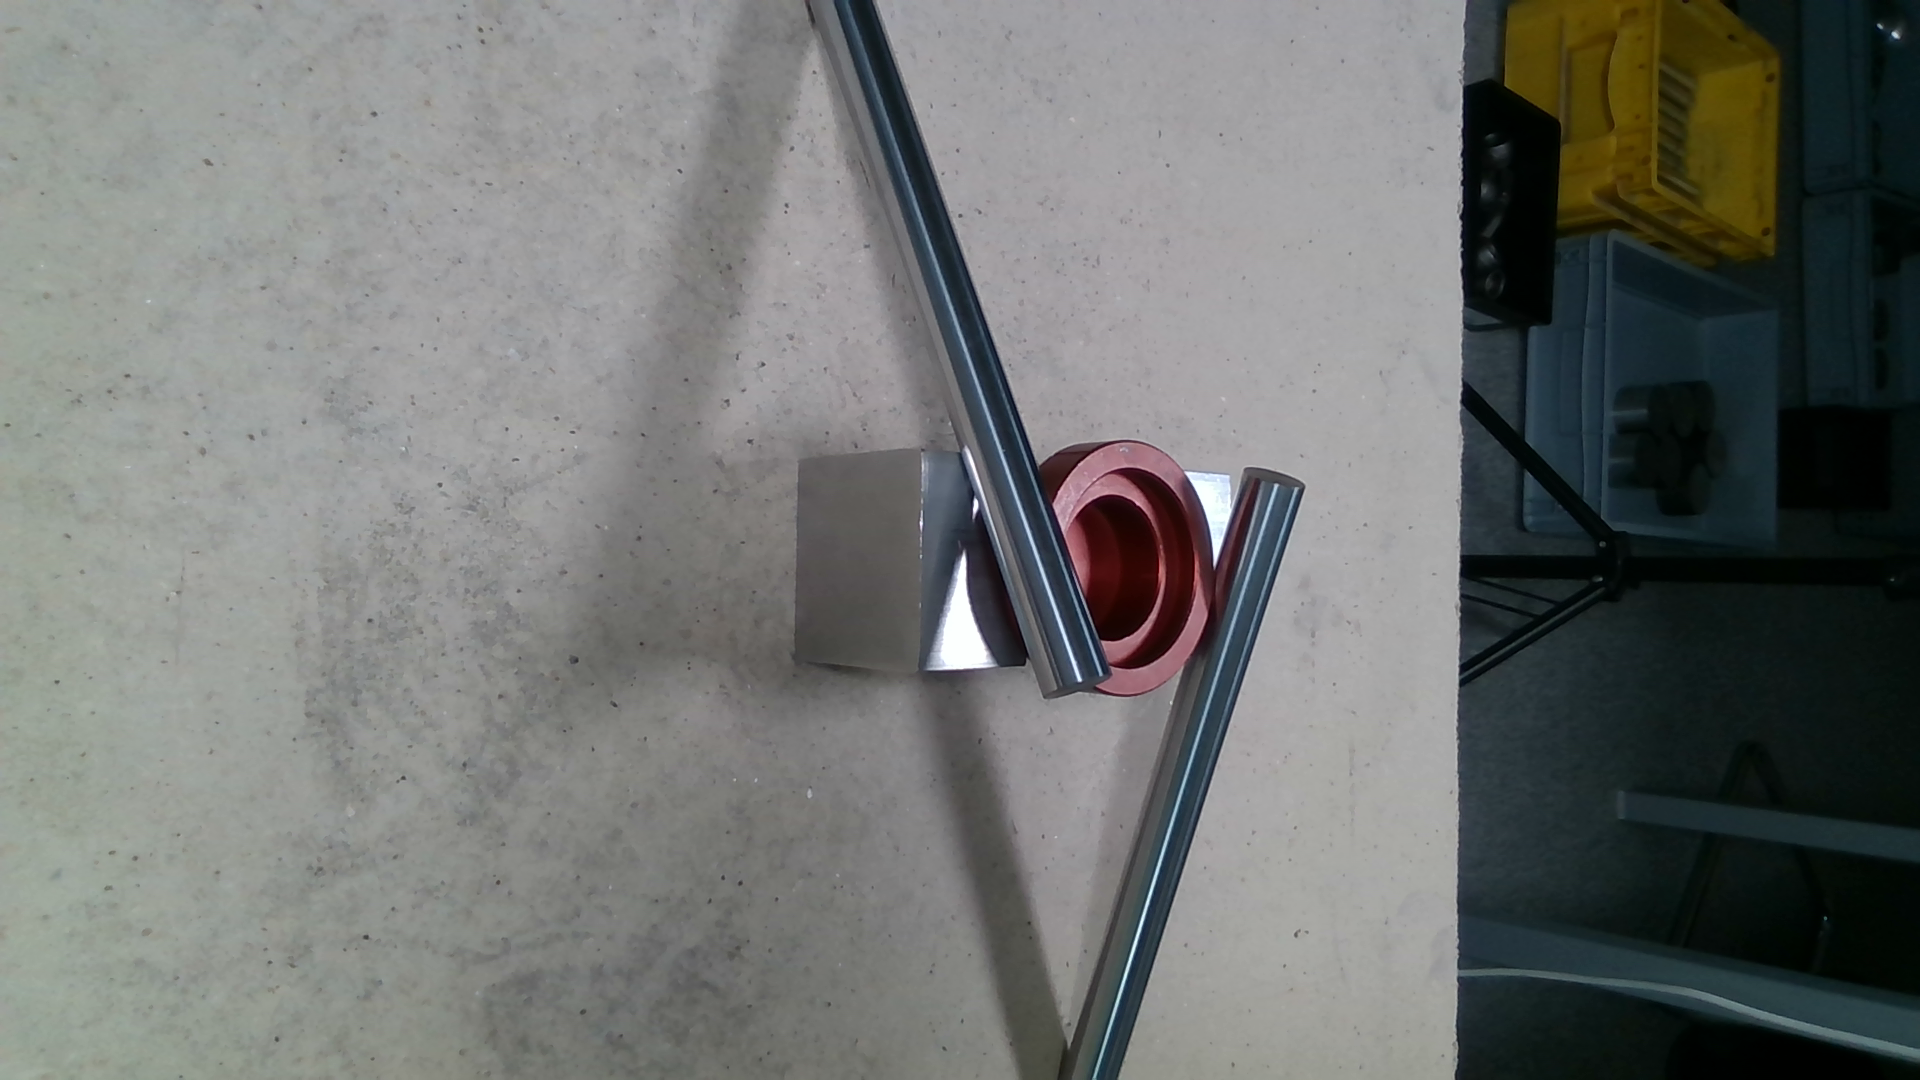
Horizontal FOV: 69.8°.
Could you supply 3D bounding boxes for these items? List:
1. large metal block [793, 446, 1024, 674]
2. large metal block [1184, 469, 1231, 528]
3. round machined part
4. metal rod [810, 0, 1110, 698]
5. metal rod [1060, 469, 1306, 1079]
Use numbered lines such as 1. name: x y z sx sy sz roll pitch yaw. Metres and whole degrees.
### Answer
1. large metal block: -0.021 0.008 0.530 0.050 0.080 0.080 1 89 -40
2. large metal block: 0.072 0.010 0.608 0.050 0.080 0.080 1 89 -40
3. round machined part: 0.052 0.011 0.539 0.098 0.042 0.098 0 90 -40
4. metal rod: -0.006 -0.088 0.506 0.025 0.025 0.299 -6 71 -40
5. metal rod: 0.090 0.115 0.590 0.025 0.025 0.300 -1 113 -40
